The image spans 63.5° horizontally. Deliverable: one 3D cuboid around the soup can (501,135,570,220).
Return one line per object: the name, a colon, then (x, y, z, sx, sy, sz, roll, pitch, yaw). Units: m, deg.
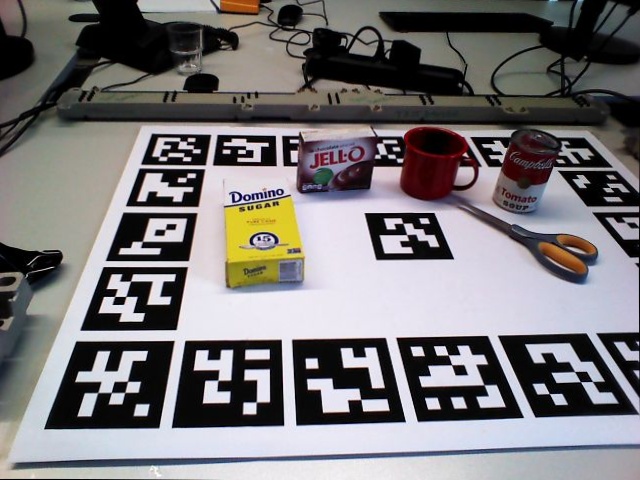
soup can: (0.303, -0.088, 0.735, 0.068, 0.102, 0.067, 1, 40, -1)

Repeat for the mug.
mug: (0.185, -0.112, 0.761, 0.093, 0.082, 0.117, -29, 49, -27)

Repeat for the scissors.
scissors: (0.283, 0.001, 0.685, 0.087, 0.016, 0.203, -39, 56, -25)

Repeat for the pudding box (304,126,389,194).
pudding box: (0.036, -0.117, 0.747, 0.114, 0.090, 0.038, -6, 49, -11)

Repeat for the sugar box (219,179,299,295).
sugar box: (-0.079, -0.011, 0.665, 0.093, 0.045, 0.175, -4, 43, -4)
